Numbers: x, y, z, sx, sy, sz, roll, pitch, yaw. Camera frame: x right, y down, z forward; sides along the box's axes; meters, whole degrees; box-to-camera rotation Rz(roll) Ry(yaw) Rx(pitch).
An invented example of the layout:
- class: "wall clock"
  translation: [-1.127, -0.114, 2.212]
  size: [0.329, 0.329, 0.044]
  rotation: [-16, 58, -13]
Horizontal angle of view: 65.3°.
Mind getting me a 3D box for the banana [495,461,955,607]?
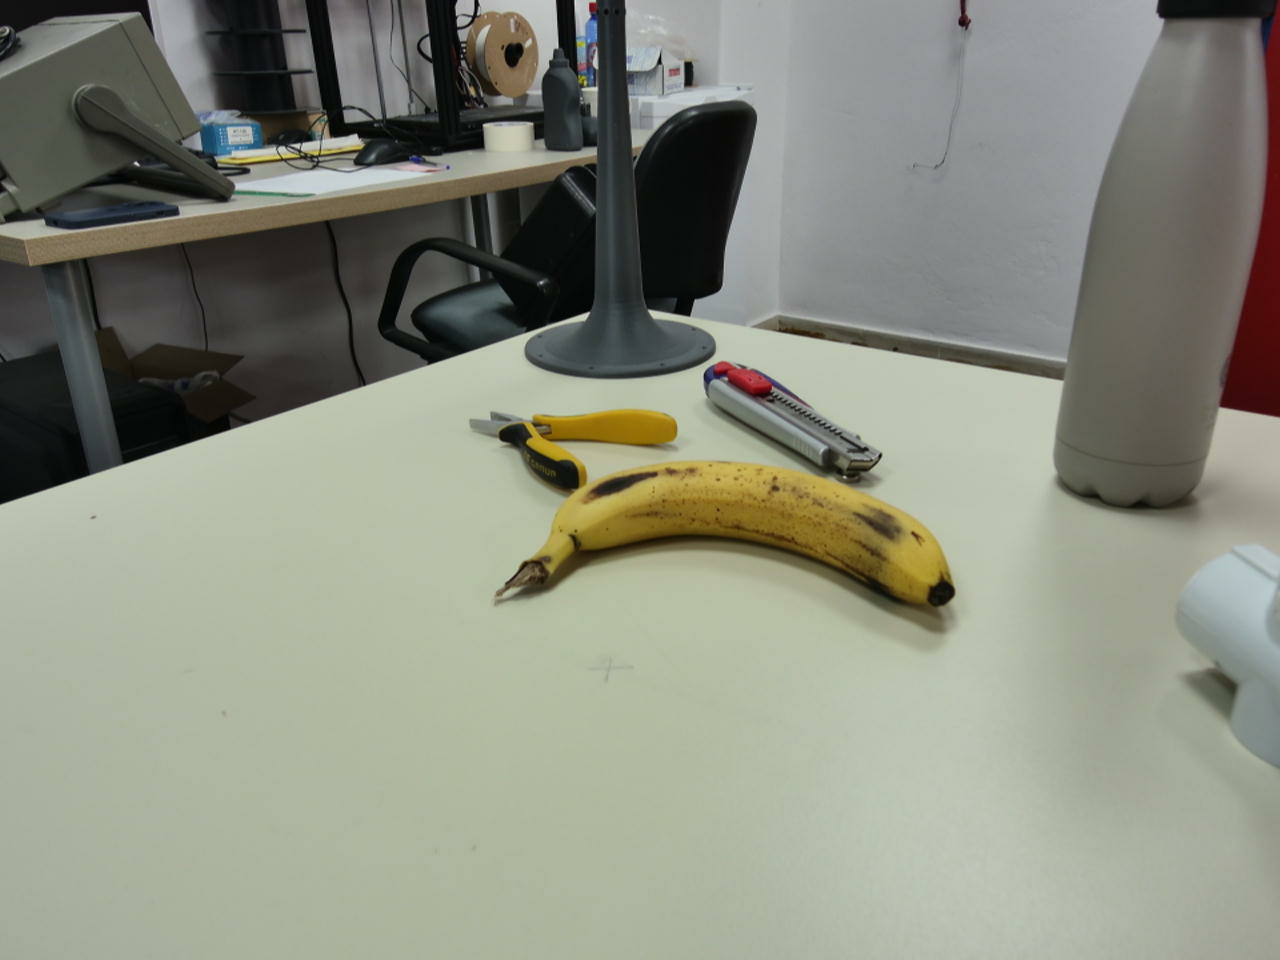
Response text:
- class: "banana"
  translation: [0.043, 0.022, 0.453]
  size: [0.186, 0.038, 0.097]
  rotation: [4, 23, 10]
